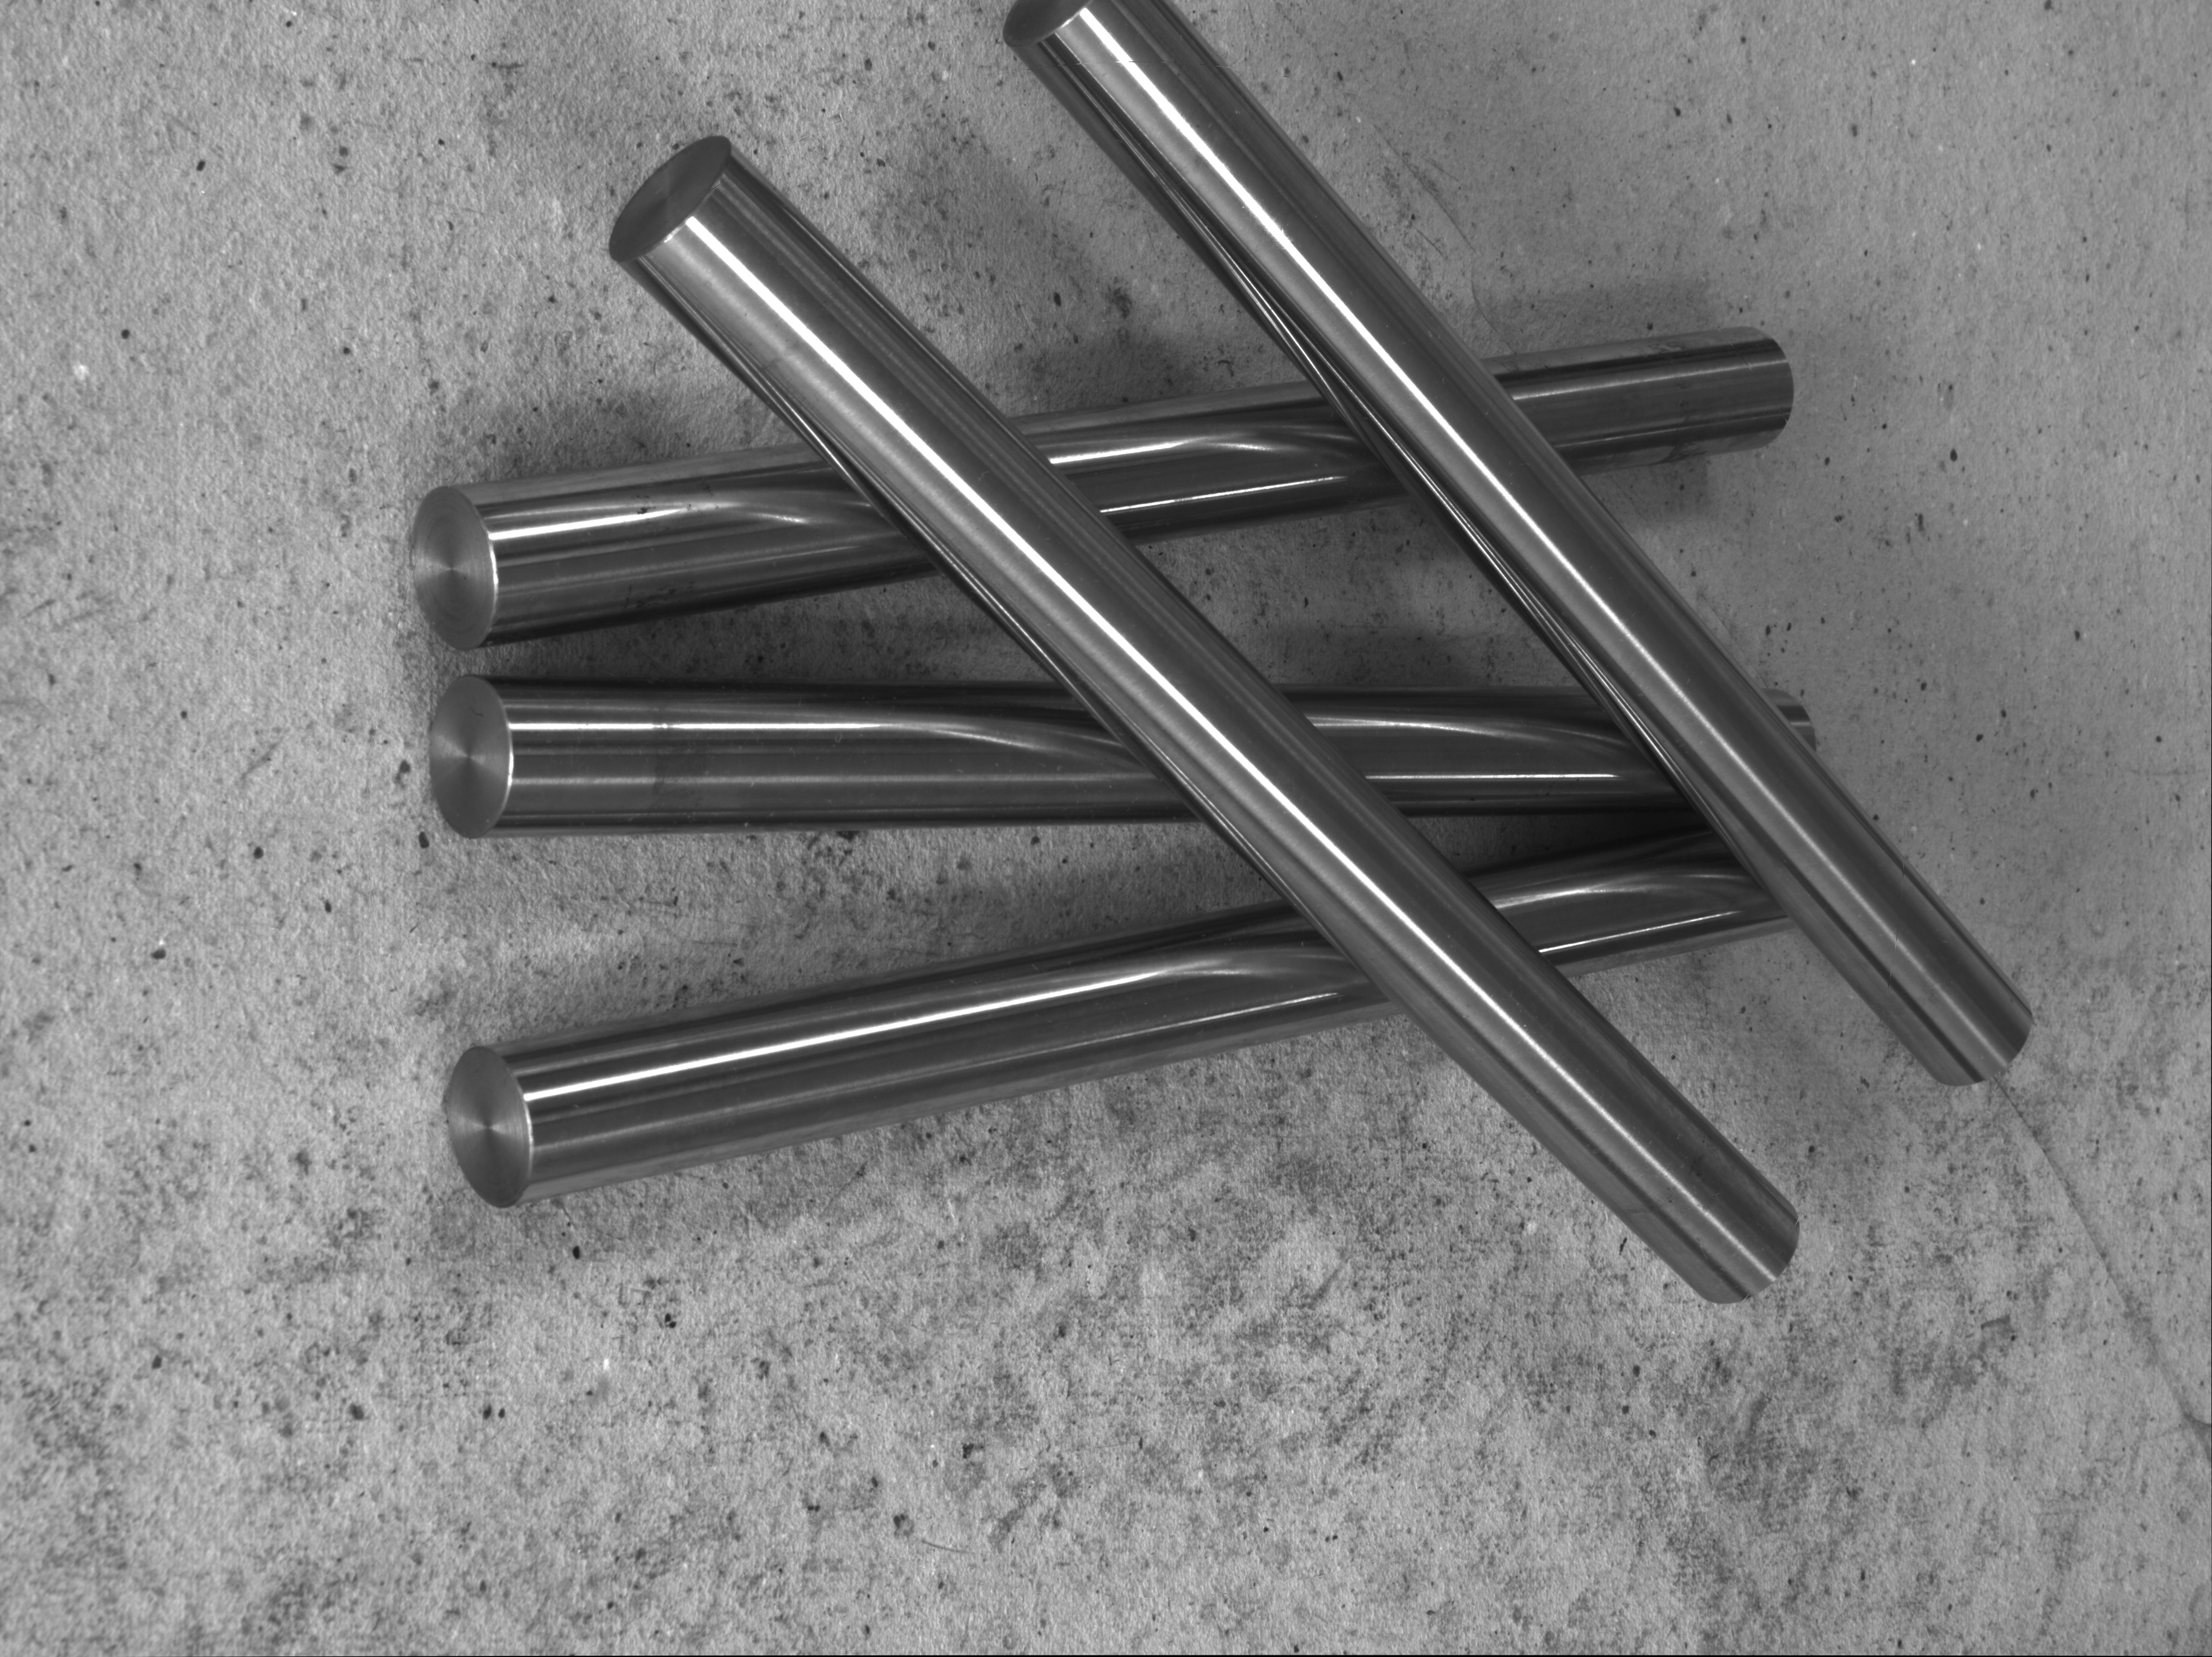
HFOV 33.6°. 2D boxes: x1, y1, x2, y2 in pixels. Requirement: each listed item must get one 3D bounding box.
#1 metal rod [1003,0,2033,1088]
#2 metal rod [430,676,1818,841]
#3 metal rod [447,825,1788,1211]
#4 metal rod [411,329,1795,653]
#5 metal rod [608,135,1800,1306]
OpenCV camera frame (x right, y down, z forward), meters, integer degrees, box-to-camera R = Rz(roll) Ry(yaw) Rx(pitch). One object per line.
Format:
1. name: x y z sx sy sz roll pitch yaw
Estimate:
1. metal rod: 0.086 -0.047 0.675 0.301 0.025 0.025 44 64 -31
2. metal rod: 0.020 -0.013 0.652 0.301 0.025 0.025 -1 91 -40
3. metal rod: 0.021 0.027 0.653 0.301 0.025 0.025 -9 96 -39
4. metal rod: 0.016 -0.064 0.649 0.301 0.025 0.025 -12 98 -39
5. metal rod: 0.029 -0.007 0.627 0.301 0.025 0.025 43 64 -31
